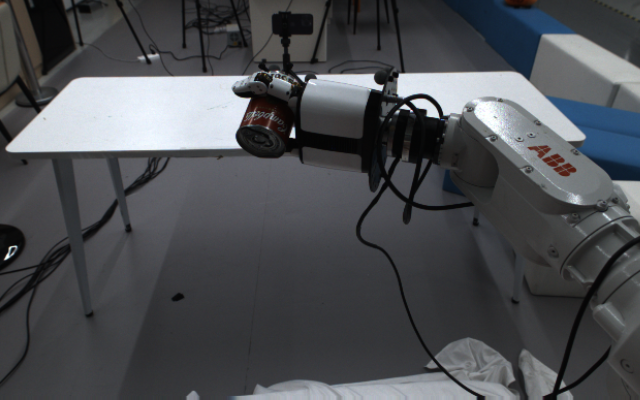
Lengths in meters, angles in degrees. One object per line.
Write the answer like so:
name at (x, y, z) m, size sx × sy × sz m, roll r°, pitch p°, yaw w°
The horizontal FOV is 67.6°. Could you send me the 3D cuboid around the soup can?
soup can at (-0.066, -0.116, 0.651) m, size 0.067 × 0.067 × 0.101 m, roll 9°, pitch 59°, yaw 10°
